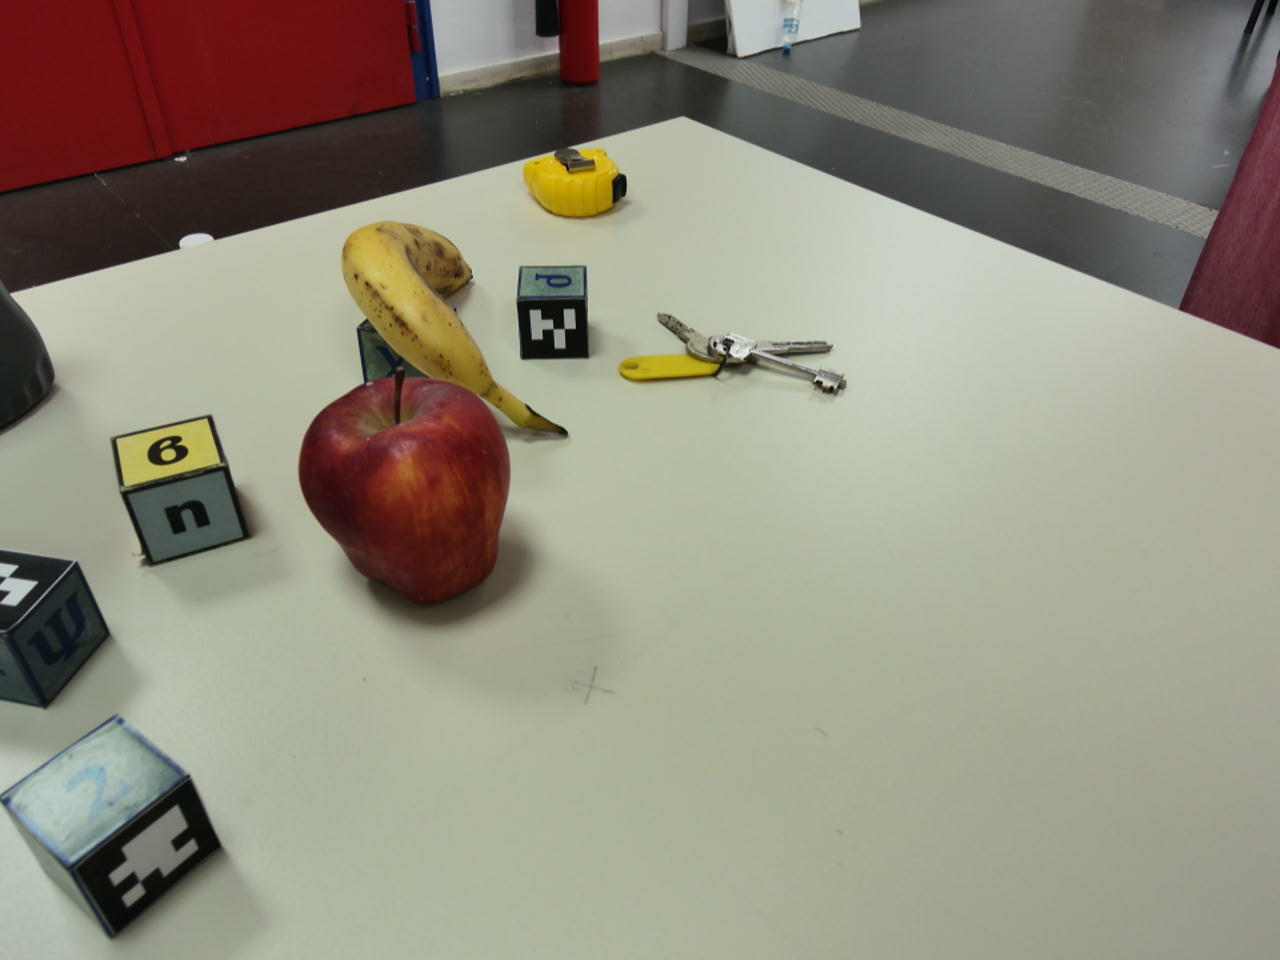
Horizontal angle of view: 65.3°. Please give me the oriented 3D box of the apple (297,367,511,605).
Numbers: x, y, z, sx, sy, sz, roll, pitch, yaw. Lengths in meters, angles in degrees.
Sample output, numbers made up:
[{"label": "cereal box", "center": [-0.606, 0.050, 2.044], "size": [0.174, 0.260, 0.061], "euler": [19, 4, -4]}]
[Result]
[{"label": "apple", "center": [-0.089, -0.001, 0.385], "size": [0.083, 0.090, 0.083], "euler": [1, 37, -1]}]
